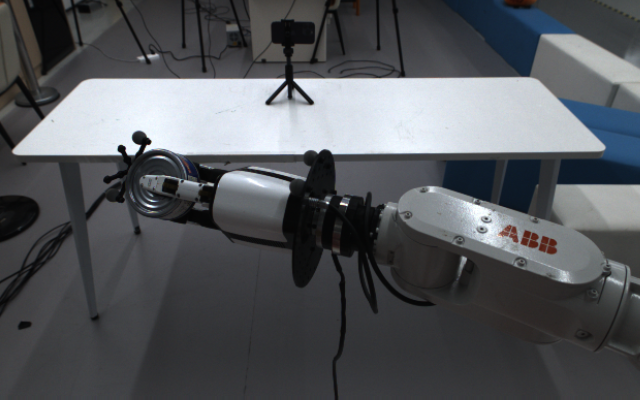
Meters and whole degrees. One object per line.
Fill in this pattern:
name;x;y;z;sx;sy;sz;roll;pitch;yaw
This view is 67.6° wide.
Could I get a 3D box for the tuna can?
tuna can;-0.192;-0.019;0.594;0.085;0.085;0.034;12;-3;14
